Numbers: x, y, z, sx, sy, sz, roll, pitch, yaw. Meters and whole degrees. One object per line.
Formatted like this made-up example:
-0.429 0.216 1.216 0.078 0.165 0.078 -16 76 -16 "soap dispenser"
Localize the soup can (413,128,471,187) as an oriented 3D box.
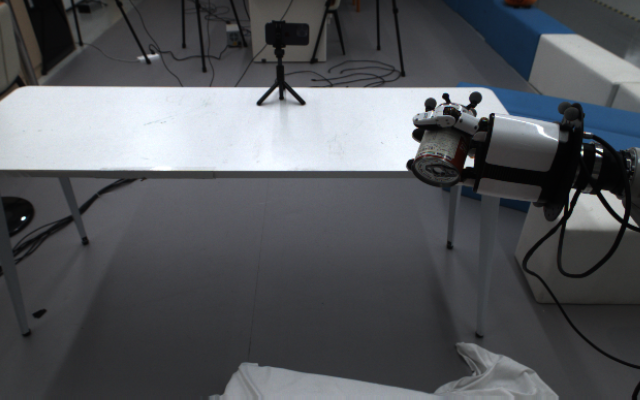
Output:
0.177 -0.080 0.684 0.067 0.067 0.101 15 64 18 "soup can"
